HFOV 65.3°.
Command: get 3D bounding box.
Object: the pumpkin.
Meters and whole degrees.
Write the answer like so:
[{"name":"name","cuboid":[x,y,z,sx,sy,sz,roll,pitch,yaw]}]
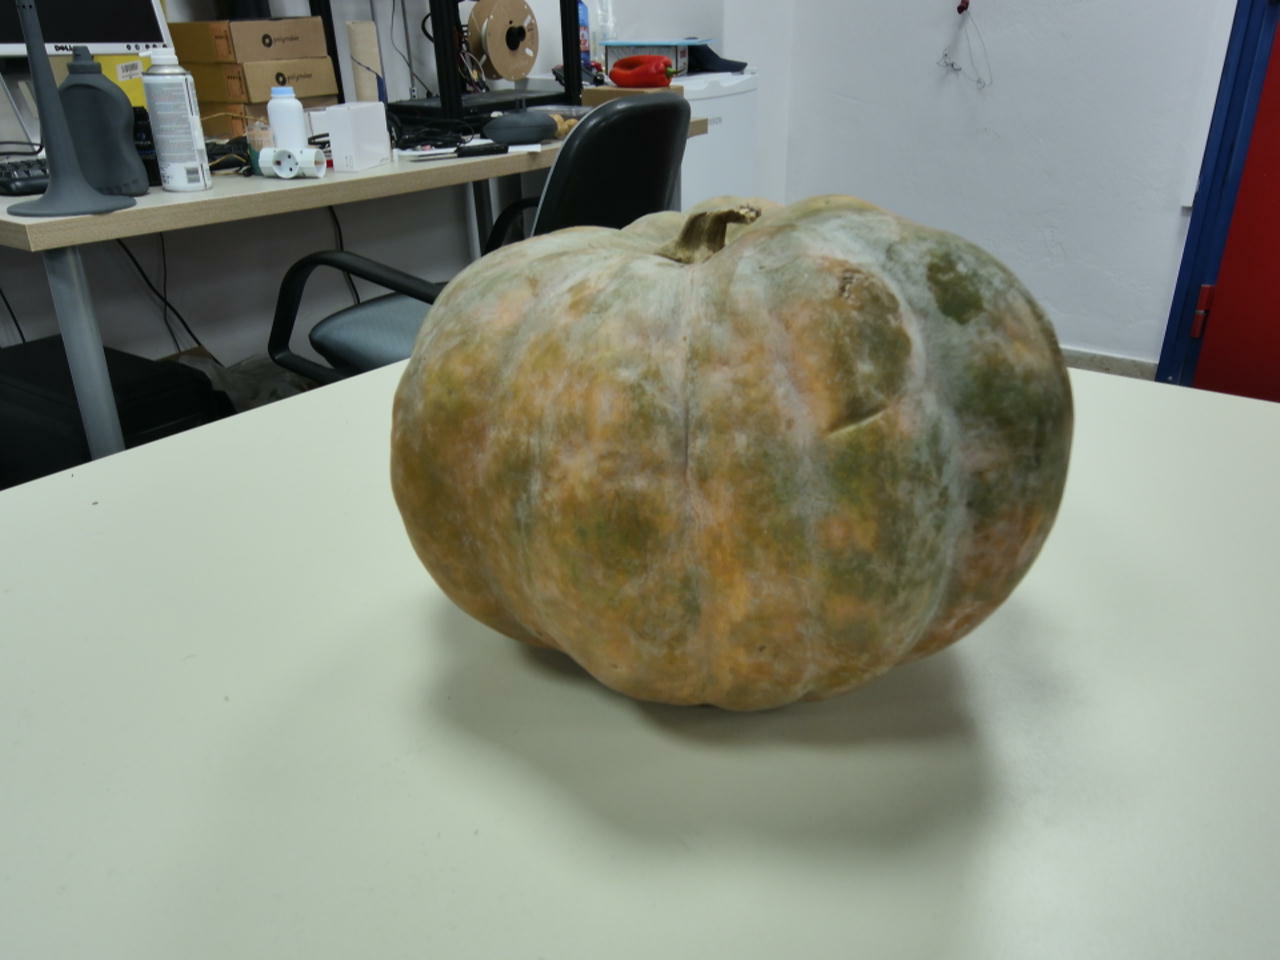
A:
[{"name":"pumpkin","cuboid":[0.029,-0.022,0.381,0.252,0.169,0.251,0,23,0]}]
